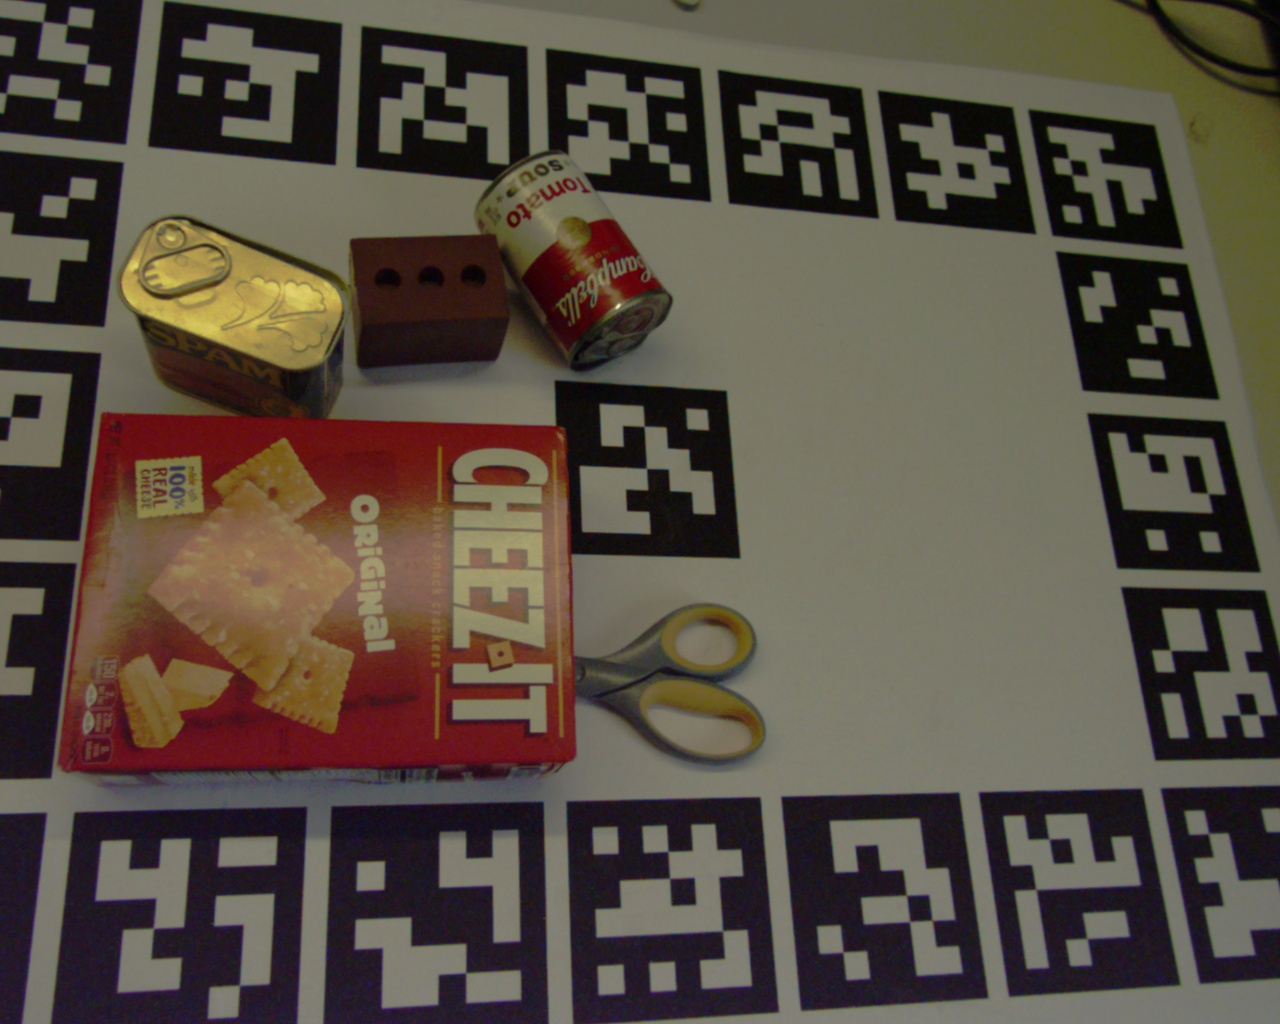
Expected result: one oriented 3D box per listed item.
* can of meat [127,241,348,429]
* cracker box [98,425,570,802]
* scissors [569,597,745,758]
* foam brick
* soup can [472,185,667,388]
[{"bbox_3d":[-0.207,-0.088,0.599,0.101,0.084,0.058,16,70,-9],"label":"can of meat"},{"bbox_3d":[-0.149,0.046,0.562,0.212,0.072,0.165,-4,73,-11],"label":"cracker box"},{"bbox_3d":[-0.044,0.093,0.606,0.201,0.016,0.088,-3,74,-14],"label":"scissors"},{"bbox_3d":[-0.121,-0.110,0.647,0.077,0.051,0.053,-8,76,-16],"label":"foam brick"},{"bbox_3d":[-0.042,-0.133,0.672,0.067,0.068,0.102,-36,79,-21],"label":"soup can"}]
